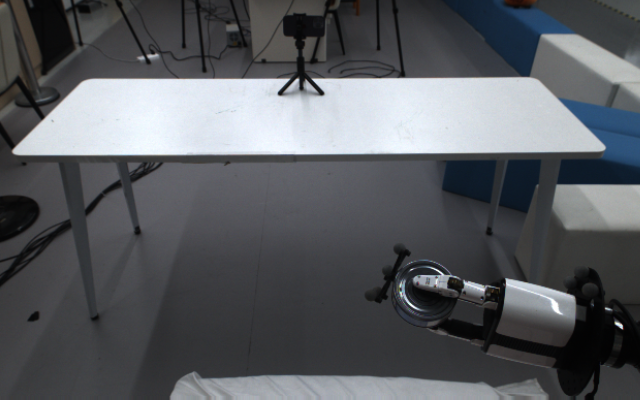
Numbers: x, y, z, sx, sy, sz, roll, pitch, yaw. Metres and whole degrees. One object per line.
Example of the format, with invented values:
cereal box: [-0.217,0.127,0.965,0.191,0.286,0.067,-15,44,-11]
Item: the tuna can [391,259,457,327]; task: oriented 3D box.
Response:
tuna can: [0.141,0.122,0.645,0.085,0.034,0.085,-2,59,3]
